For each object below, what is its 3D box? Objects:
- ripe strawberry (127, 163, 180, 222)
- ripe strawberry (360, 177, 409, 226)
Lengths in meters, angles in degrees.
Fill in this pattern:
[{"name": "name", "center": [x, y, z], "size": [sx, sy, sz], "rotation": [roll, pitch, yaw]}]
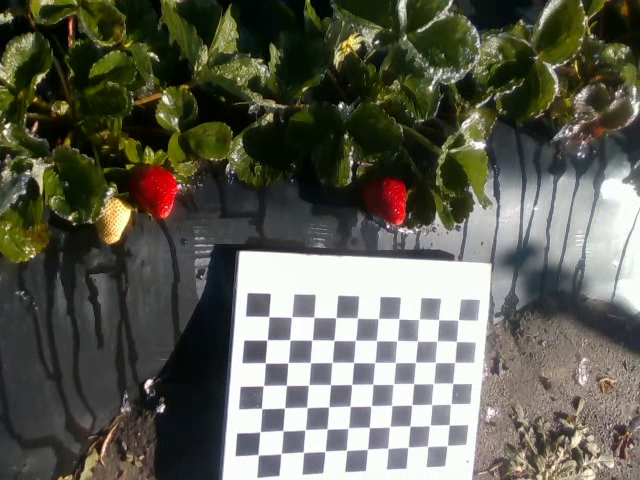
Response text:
[{"name": "ripe strawberry", "center": [-0.148, -0.037, 0.543], "size": [0.042, 0.061, 0.046], "rotation": [-11, -34, -16]}, {"name": "ripe strawberry", "center": [0.072, -0.037, 0.605], "size": [0.048, 0.061, 0.044], "rotation": [-4, -26, -17]}]
